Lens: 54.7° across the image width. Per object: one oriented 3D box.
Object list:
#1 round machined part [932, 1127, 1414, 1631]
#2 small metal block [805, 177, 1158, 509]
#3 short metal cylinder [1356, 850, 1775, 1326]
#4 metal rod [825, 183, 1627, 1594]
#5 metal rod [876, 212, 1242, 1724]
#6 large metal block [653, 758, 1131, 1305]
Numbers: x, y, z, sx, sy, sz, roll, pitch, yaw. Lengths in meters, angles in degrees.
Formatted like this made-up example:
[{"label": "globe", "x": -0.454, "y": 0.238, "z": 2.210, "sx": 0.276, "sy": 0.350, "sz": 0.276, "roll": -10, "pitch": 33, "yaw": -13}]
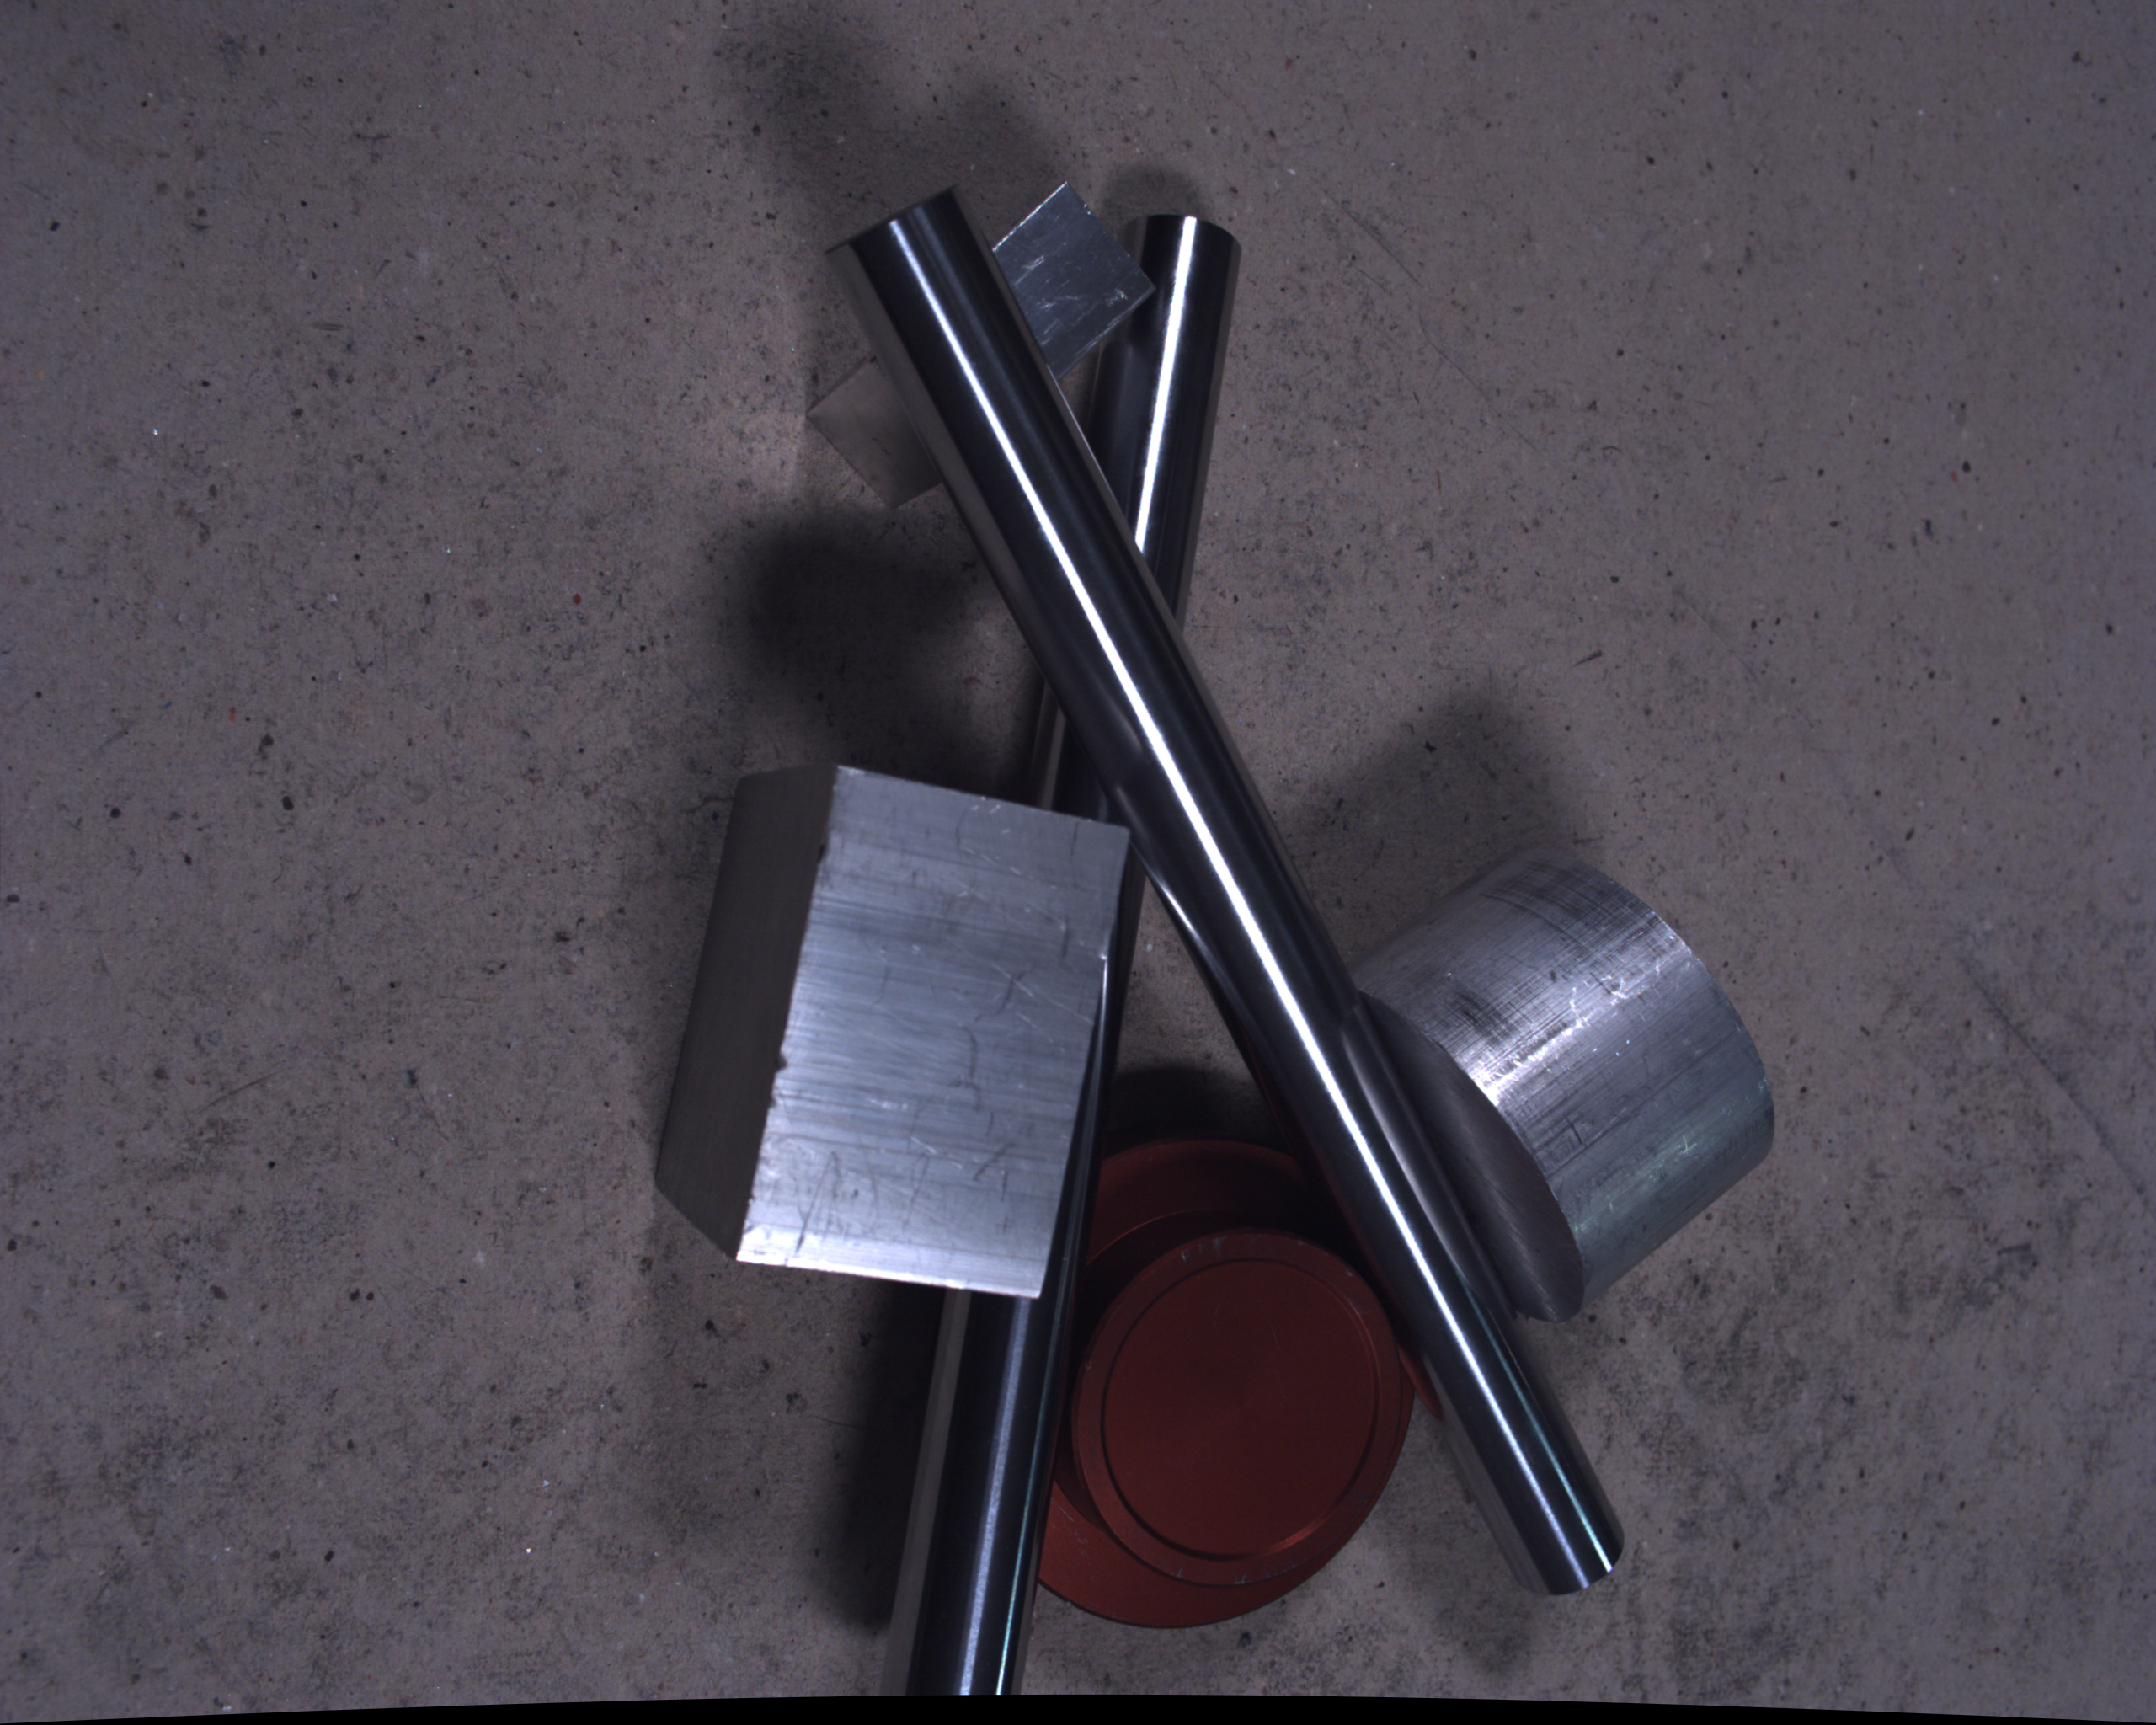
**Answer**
[{"label": "round machined part", "x": 0.024, "y": 0.103, "z": 0.412, "sx": 0.099, "sy": 0.042, "sz": 0.097, "roll": 0, "pitch": 90, "yaw": -21}, {"label": "small metal block", "x": -0.019, "y": -0.095, "z": 0.390, "sx": 0.050, "sy": 0.050, "sz": 0.025, "roll": -47, "pitch": 105, "yaw": -14}, {"label": "short metal cylinder", "x": 0.090, "y": 0.044, "z": 0.416, "sx": 0.050, "sy": 0.080, "sz": 0.080, "roll": -34, "pitch": 101, "yaw": -17}, {"label": "metal rod", "x": 0.037, "y": 0.020, "z": 0.388, "sx": 0.025, "sy": 0.025, "sz": 0.299, "roll": -34, "pitch": 110, "yaw": -17}, {"label": "metal rod", "x": -0.002, "y": 0.020, "z": 0.394, "sx": 0.025, "sy": 0.025, "sz": 0.299, "roll": 13, "pitch": 80, "yaw": -20}, {"label": "large metal block", "x": -0.036, "y": 0.027, "z": 0.369, "sx": 0.050, "sy": 0.080, "sz": 0.080, "roll": 13, "pitch": 86, "yaw": -20}]
